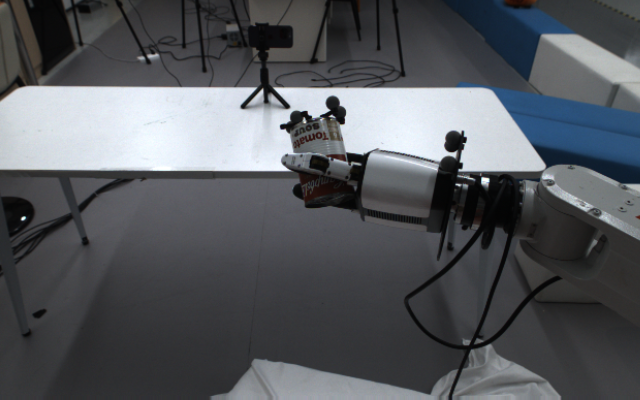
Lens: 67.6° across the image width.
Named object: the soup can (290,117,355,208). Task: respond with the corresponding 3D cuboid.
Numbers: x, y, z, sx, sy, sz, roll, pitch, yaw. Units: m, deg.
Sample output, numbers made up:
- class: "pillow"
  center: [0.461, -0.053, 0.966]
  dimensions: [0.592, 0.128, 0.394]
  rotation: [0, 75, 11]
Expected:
- class: "soup can"
  center: [0.004, -0.047, 0.622]
  dimensions: [0.067, 0.067, 0.101]
  rotation: [-10, 80, -17]
